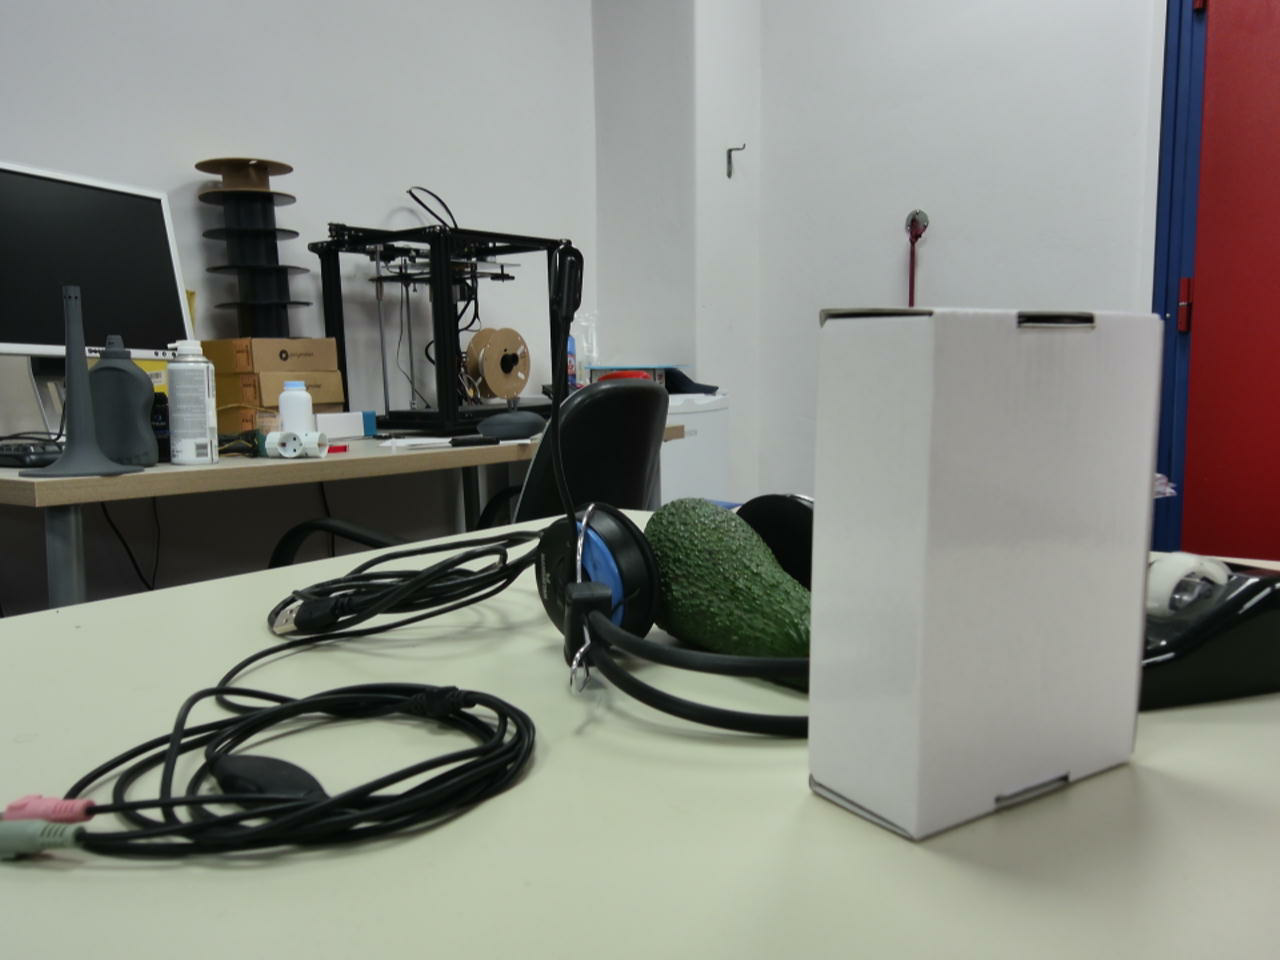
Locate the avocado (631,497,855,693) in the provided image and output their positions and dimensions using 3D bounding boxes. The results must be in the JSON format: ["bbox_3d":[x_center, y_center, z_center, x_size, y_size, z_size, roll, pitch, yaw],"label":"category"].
[{"bbox_3d":[0.046,0.044,0.434,0.063,0.067,0.141,-2,4,-37],"label":"avocado"}]
